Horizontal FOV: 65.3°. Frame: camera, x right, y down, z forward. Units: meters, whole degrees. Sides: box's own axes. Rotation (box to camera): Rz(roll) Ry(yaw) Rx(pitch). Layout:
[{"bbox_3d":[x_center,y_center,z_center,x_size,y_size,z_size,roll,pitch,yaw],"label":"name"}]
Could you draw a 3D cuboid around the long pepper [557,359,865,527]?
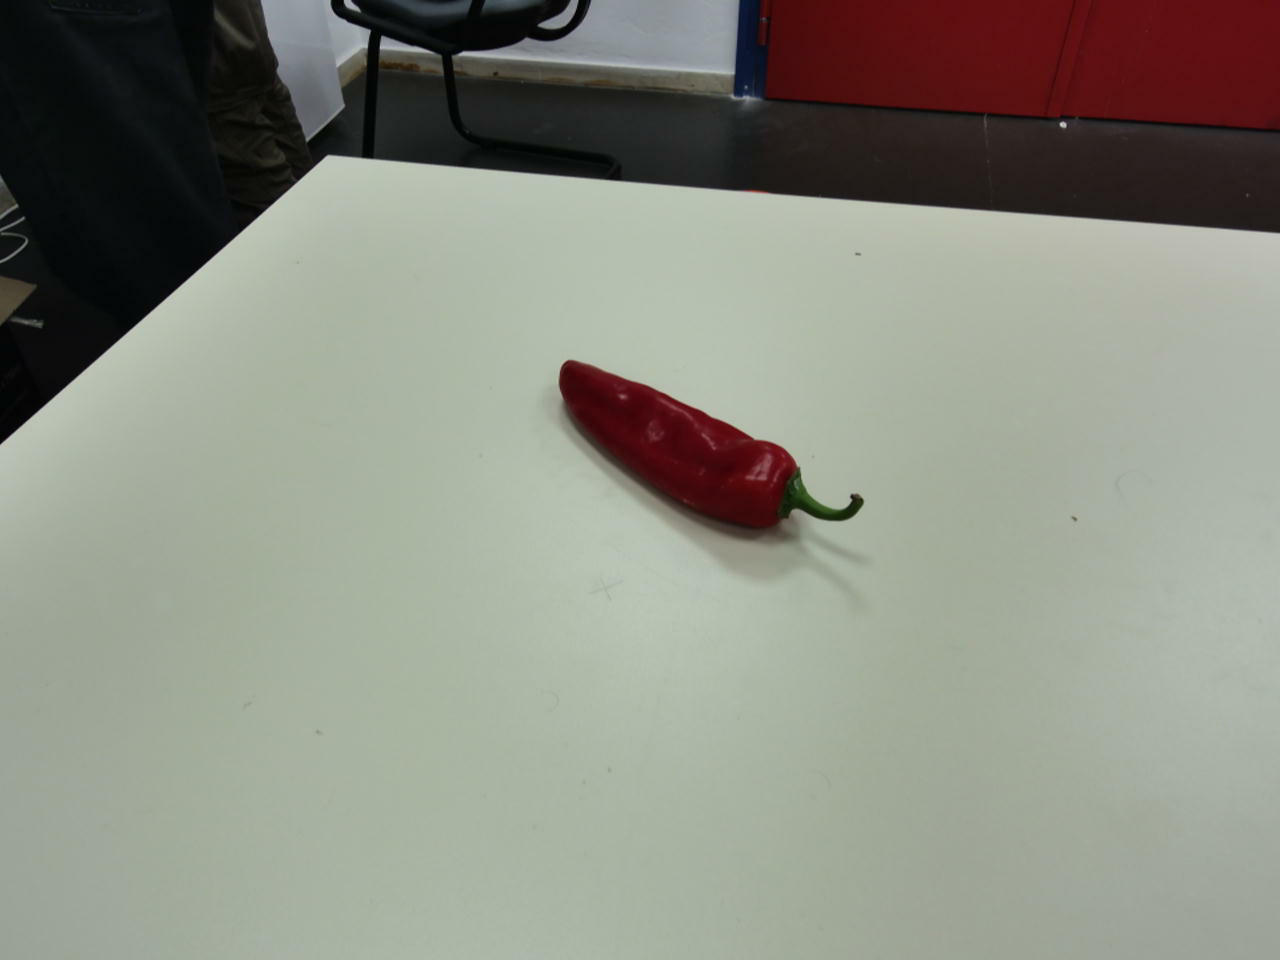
[{"bbox_3d":[0.023,-0.019,0.533,0.211,0.043,0.050,32,49,34],"label":"long pepper"}]
